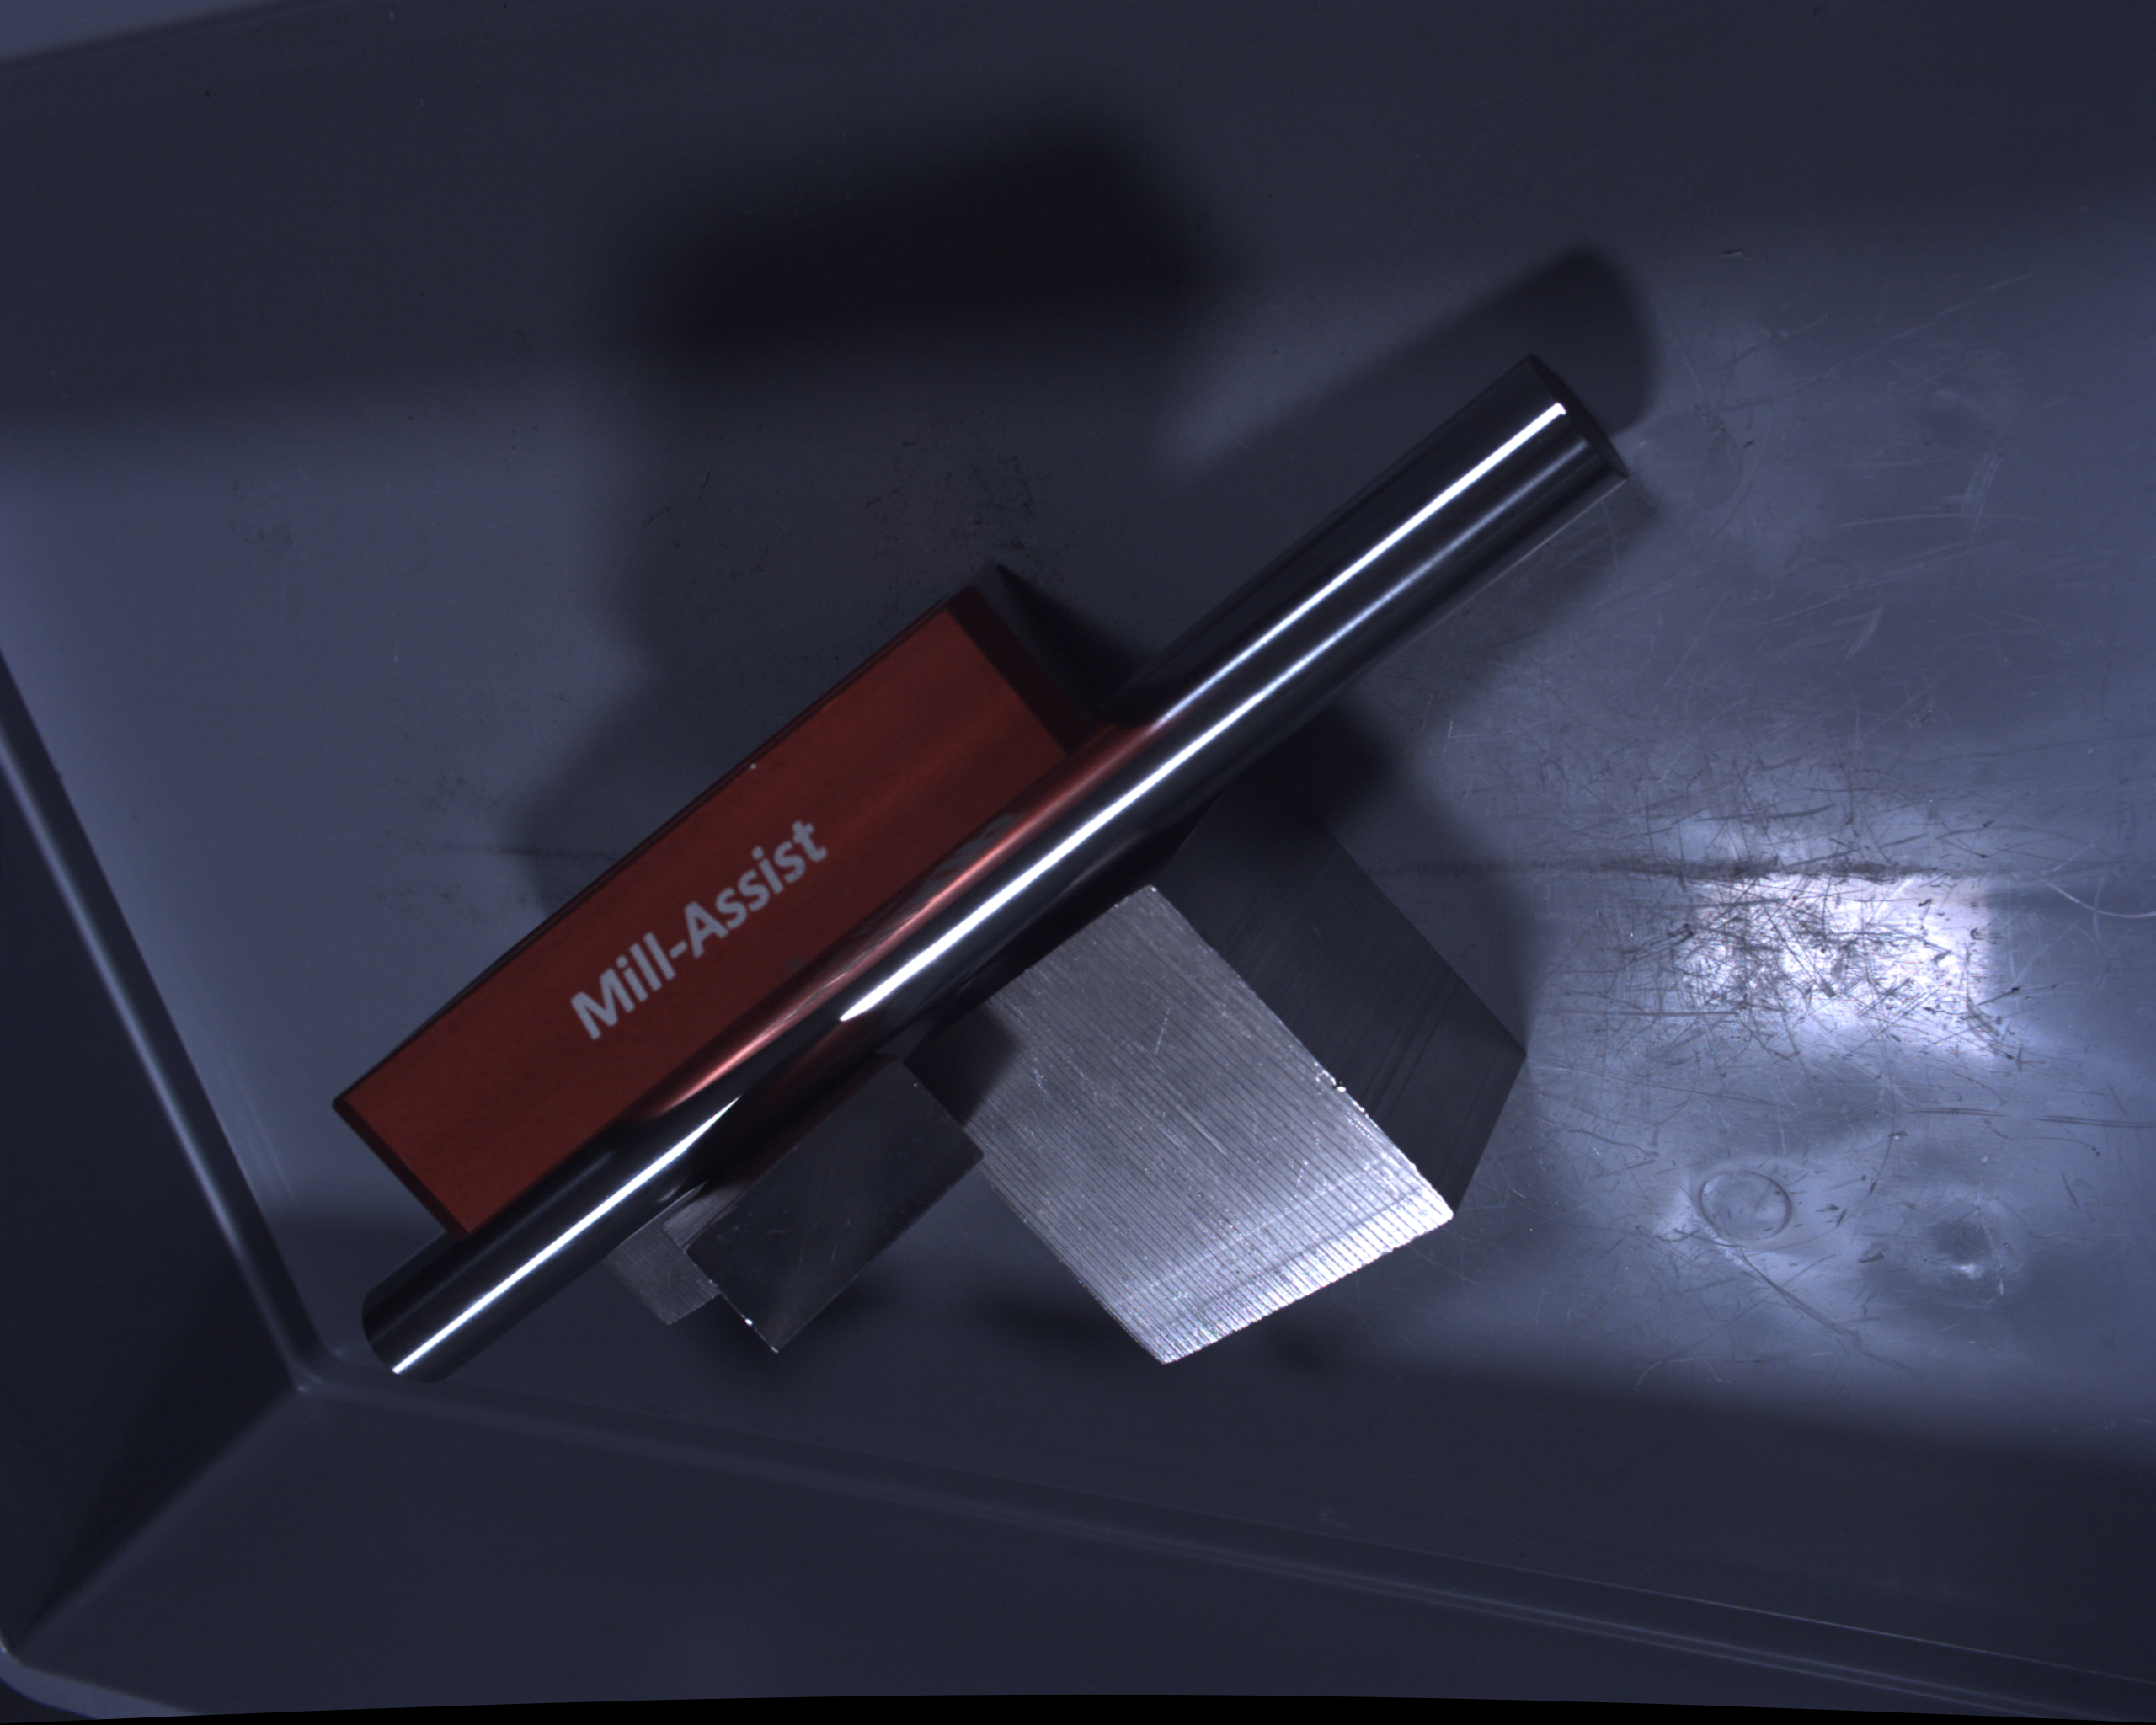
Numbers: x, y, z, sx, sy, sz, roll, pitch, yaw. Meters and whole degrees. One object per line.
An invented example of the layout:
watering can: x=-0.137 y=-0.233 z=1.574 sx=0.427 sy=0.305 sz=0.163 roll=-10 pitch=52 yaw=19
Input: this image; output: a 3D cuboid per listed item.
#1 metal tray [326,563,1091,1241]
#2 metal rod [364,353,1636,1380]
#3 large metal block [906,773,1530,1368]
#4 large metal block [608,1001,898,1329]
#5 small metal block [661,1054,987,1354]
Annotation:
metal tray: x=-0.058 y=0.002 z=0.360 sx=0.130 sy=0.090 sz=0.030 roll=-38 pitch=99 yaw=6
metal rod: x=-0.031 y=0.014 z=0.382 sx=0.299 sy=0.025 sz=0.025 roll=-37 pitch=98 yaw=23
large metal block: x=0.025 y=0.039 z=0.401 sx=0.080 sy=0.050 sz=0.080 roll=47 pitch=129 yaw=-6
large metal block: x=-0.084 y=0.044 z=0.458 sx=0.080 sy=0.050 sz=0.080 roll=47 pitch=129 yaw=-6
small metal block: x=-0.049 y=0.061 z=0.390 sx=0.025 sy=0.050 sz=0.050 roll=50 pitch=165 yaw=-7
